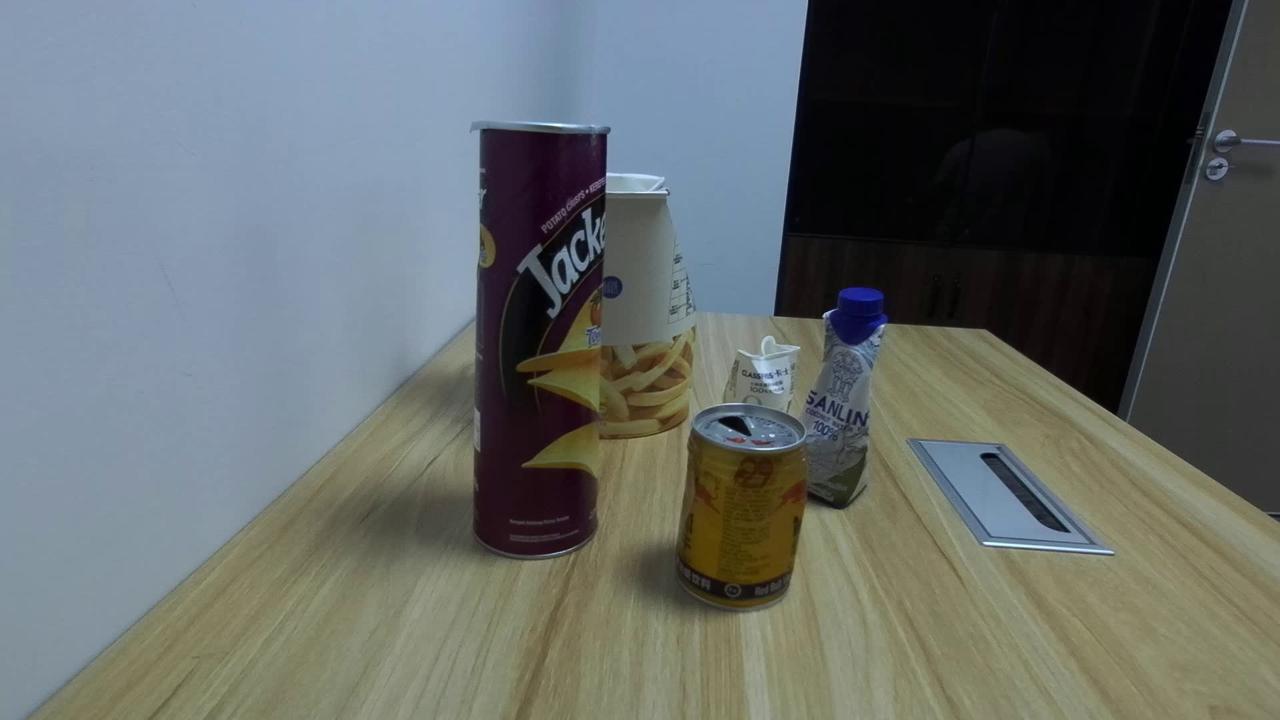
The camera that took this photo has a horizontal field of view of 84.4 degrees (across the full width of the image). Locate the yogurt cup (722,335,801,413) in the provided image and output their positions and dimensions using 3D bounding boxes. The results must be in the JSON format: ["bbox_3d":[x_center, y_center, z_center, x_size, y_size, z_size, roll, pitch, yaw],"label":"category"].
[{"bbox_3d":[0.100,0.023,0.588,0.055,0.072,0.055,-5,19,-28],"label":"yogurt cup"}]

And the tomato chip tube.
[{"bbox_3d":[-0.057,-0.010,0.403,0.076,0.234,0.080,16,20,36],"label":"tomato chip tube"}]

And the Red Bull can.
[{"bbox_3d":[0.054,0.077,0.380,0.068,0.093,0.068,3,18,-1],"label":"Red Bull can"}]

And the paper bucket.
[{"bbox_3d":[-0.021,-0.047,0.588,0.170,0.202,0.162,-8,22,-26],"label":"paper bucket"}]

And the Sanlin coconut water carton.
[{"bbox_3d":[0.144,0.024,0.484,0.056,0.144,0.069,22,16,28],"label":"Sanlin coconut water carton"}]
